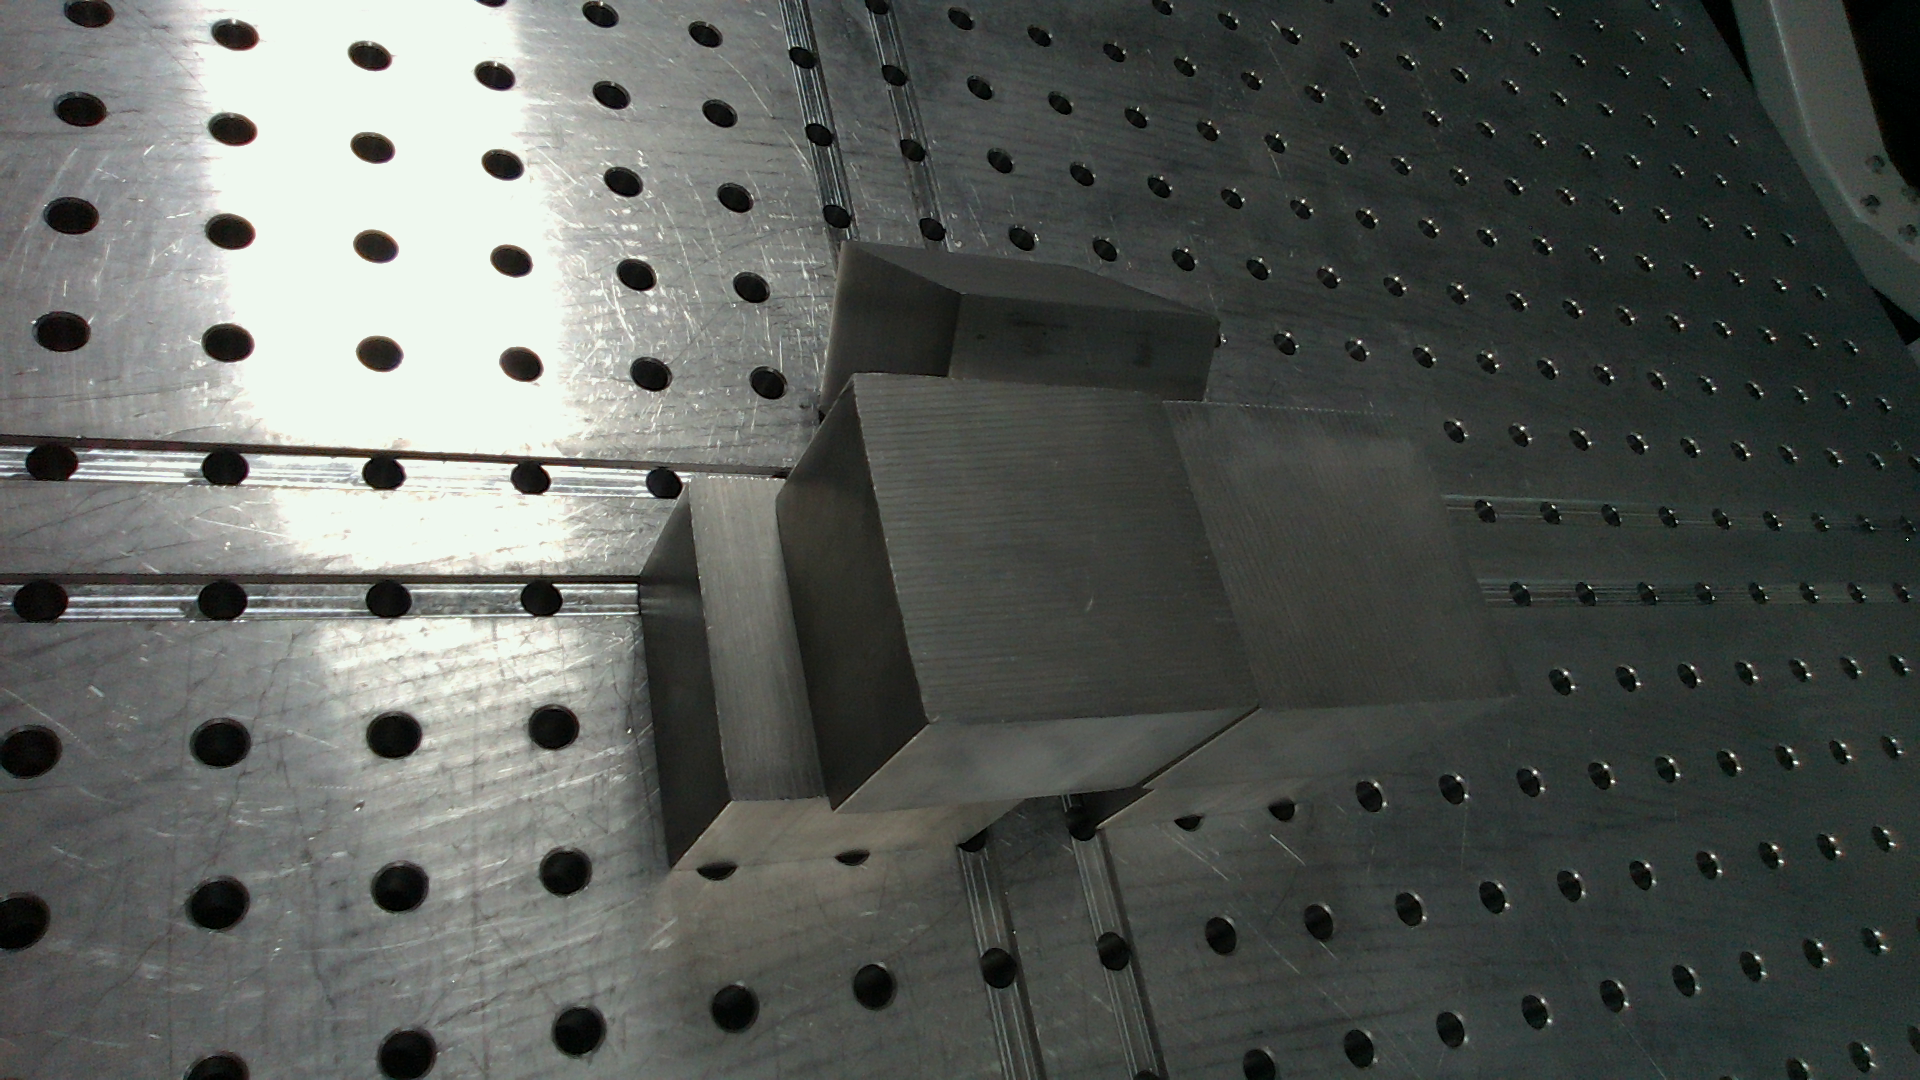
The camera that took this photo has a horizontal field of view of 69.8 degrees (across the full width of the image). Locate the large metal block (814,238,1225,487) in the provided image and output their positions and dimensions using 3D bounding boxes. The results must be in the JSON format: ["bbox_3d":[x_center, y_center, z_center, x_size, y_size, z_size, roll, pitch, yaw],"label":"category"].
[{"bbox_3d":[0.014,-0.049,0.388,0.080,0.050,0.080,0,19,-28],"label":"large metal block"}]

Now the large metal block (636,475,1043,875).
[{"bbox_3d":[-0.031,0.033,0.341,0.080,0.050,0.080,1,61,-27],"label":"large metal block"}]

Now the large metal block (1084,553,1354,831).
[{"bbox_3d":[0.073,0.032,0.395,0.080,0.050,0.080,-1,62,-29],"label":"large metal block"}]

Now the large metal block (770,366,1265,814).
[{"bbox_3d":[0.010,0.011,0.307,0.080,0.050,0.080,0,62,-28],"label":"large metal block"}]

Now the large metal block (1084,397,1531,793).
[{"bbox_3d":[0.082,0.013,0.346,0.080,0.050,0.080,0,62,-28],"label":"large metal block"}]
